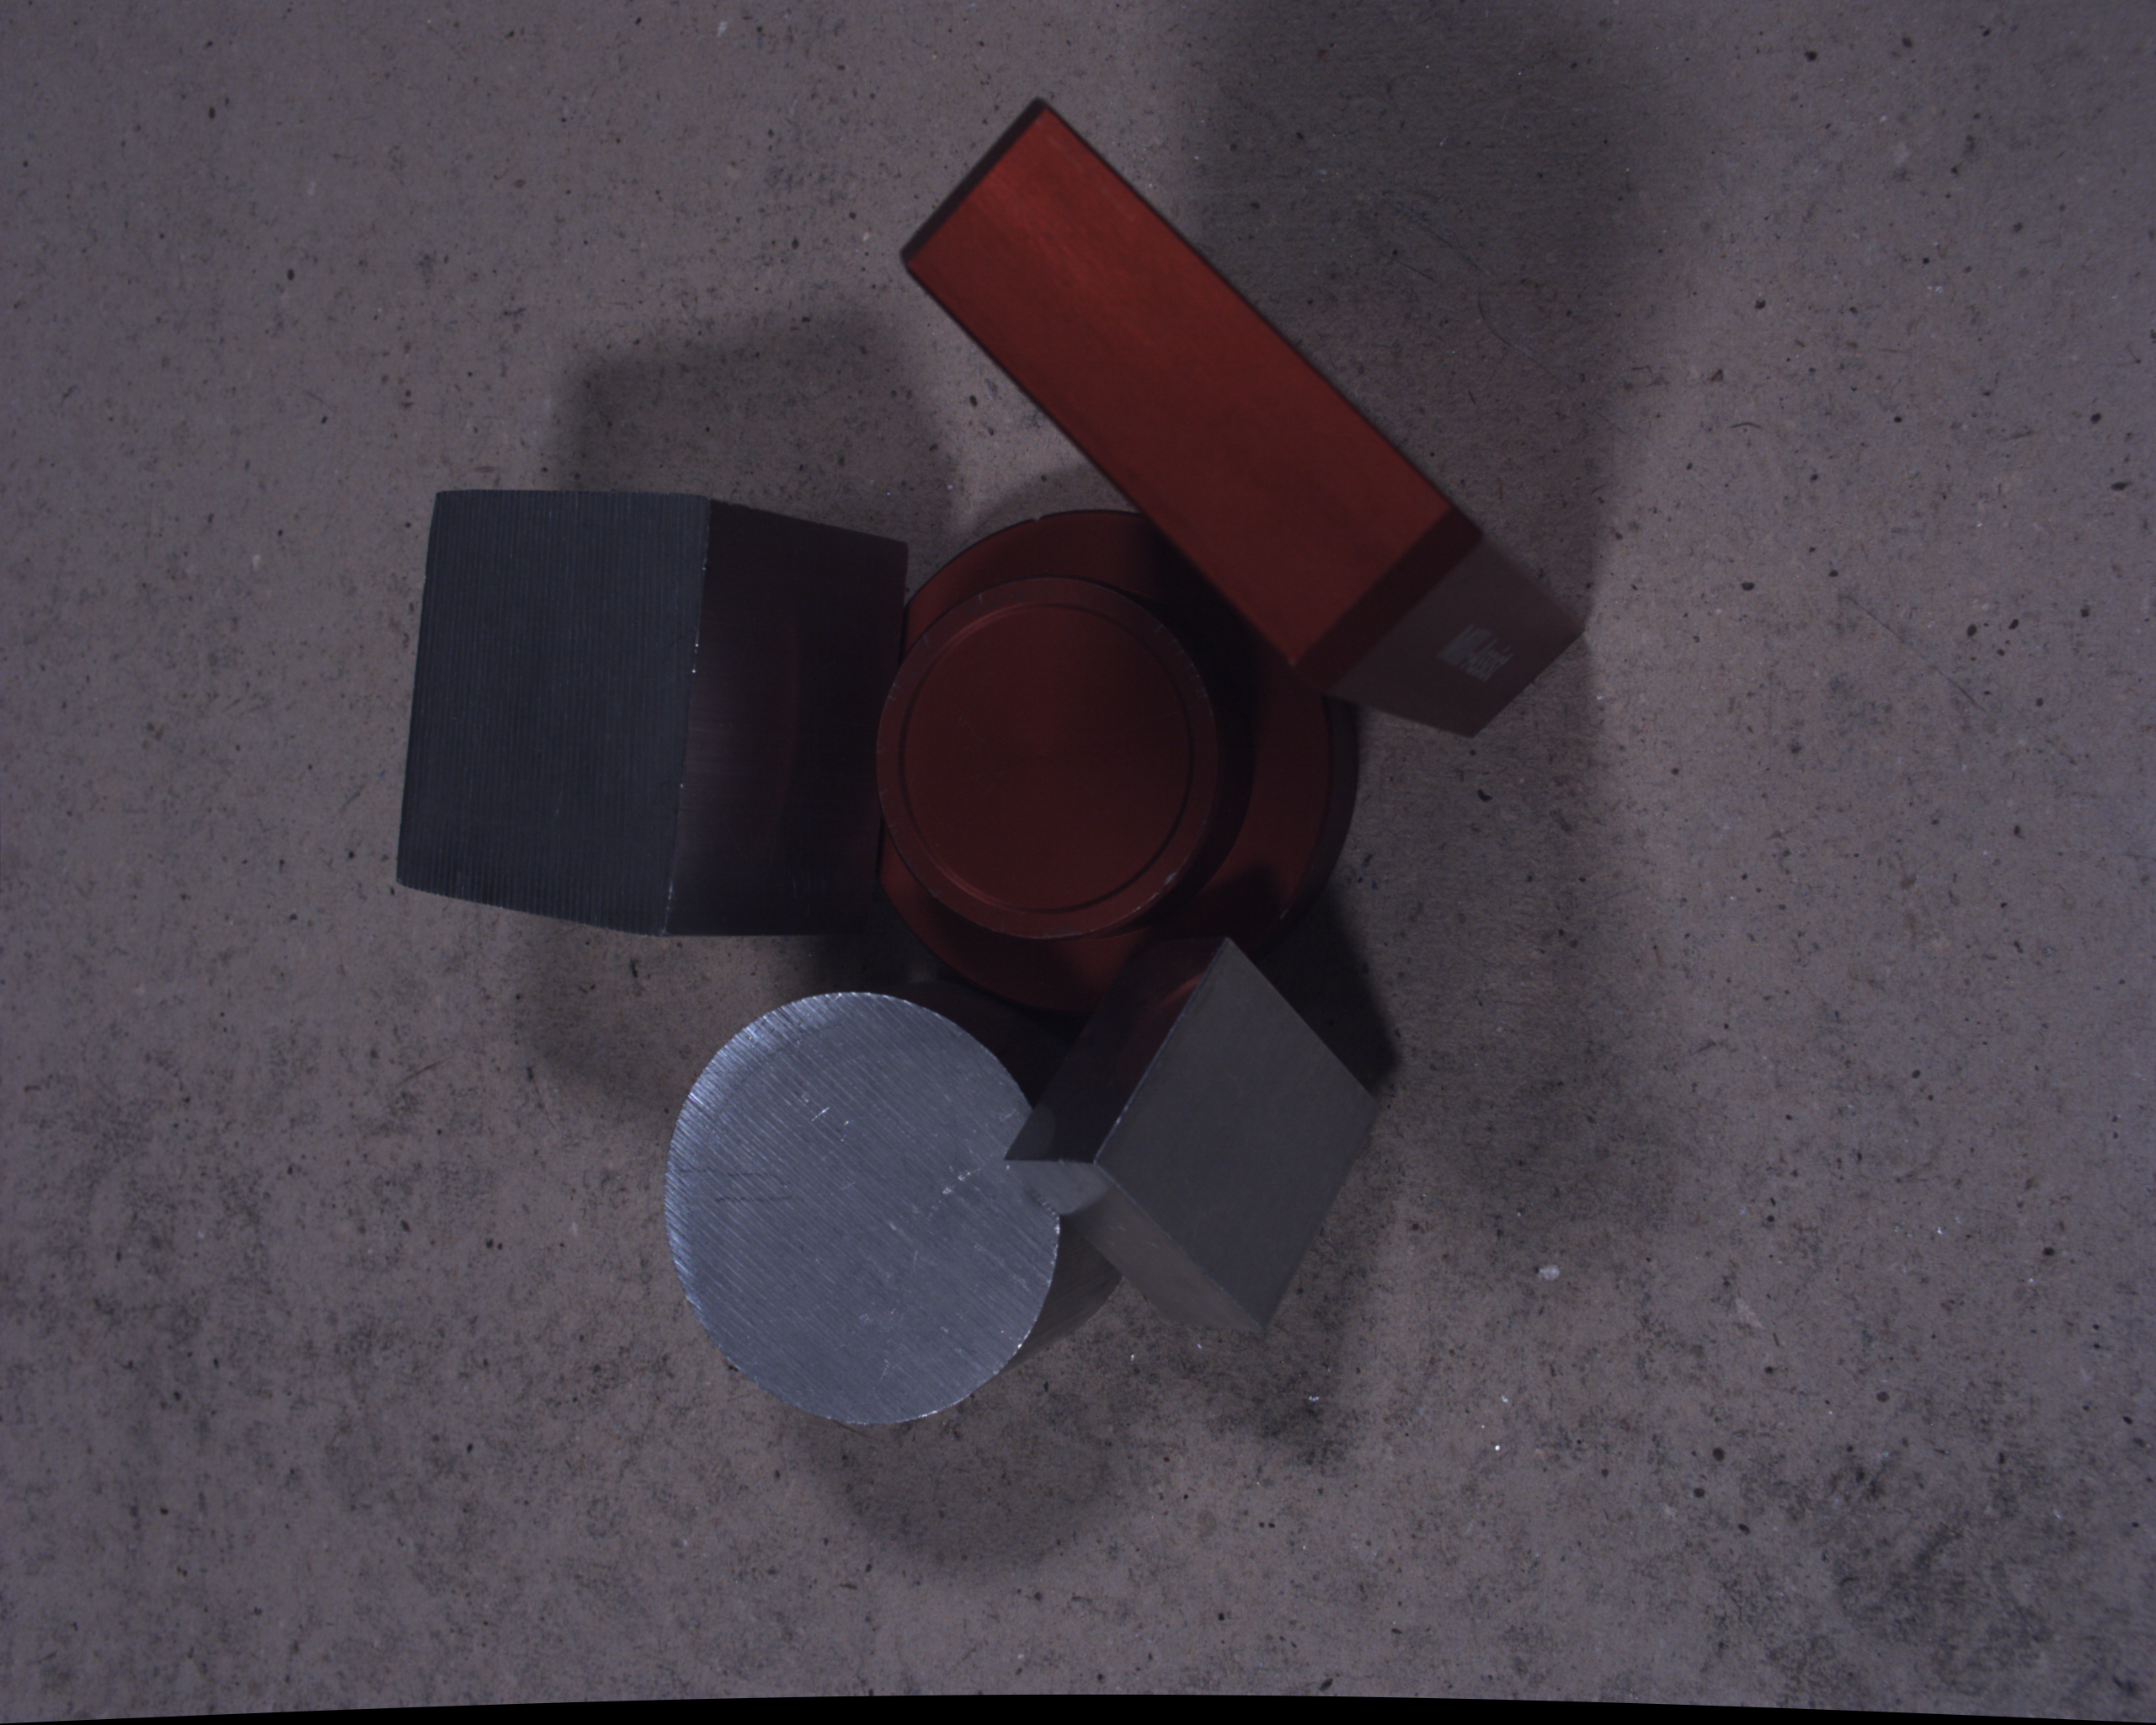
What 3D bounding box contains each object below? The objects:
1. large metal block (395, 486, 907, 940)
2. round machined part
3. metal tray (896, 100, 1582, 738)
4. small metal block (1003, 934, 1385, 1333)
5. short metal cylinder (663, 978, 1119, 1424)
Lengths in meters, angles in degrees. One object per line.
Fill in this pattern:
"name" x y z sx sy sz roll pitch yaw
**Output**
"large metal block" -0.085 -0.030 0.412 0.080 0.050 0.079 9 93 36
"round machined part" 0.001 -0.020 0.401 0.098 0.042 0.097 0 90 19
"metal tray" 0.033 -0.065 0.341 0.030 0.130 0.090 -46 76 14
"small metal block" 0.022 0.049 0.377 0.025 0.050 0.050 -8 131 50
"short metal cylinder" -0.033 0.063 0.408 0.080 0.050 0.079 0 90 19
